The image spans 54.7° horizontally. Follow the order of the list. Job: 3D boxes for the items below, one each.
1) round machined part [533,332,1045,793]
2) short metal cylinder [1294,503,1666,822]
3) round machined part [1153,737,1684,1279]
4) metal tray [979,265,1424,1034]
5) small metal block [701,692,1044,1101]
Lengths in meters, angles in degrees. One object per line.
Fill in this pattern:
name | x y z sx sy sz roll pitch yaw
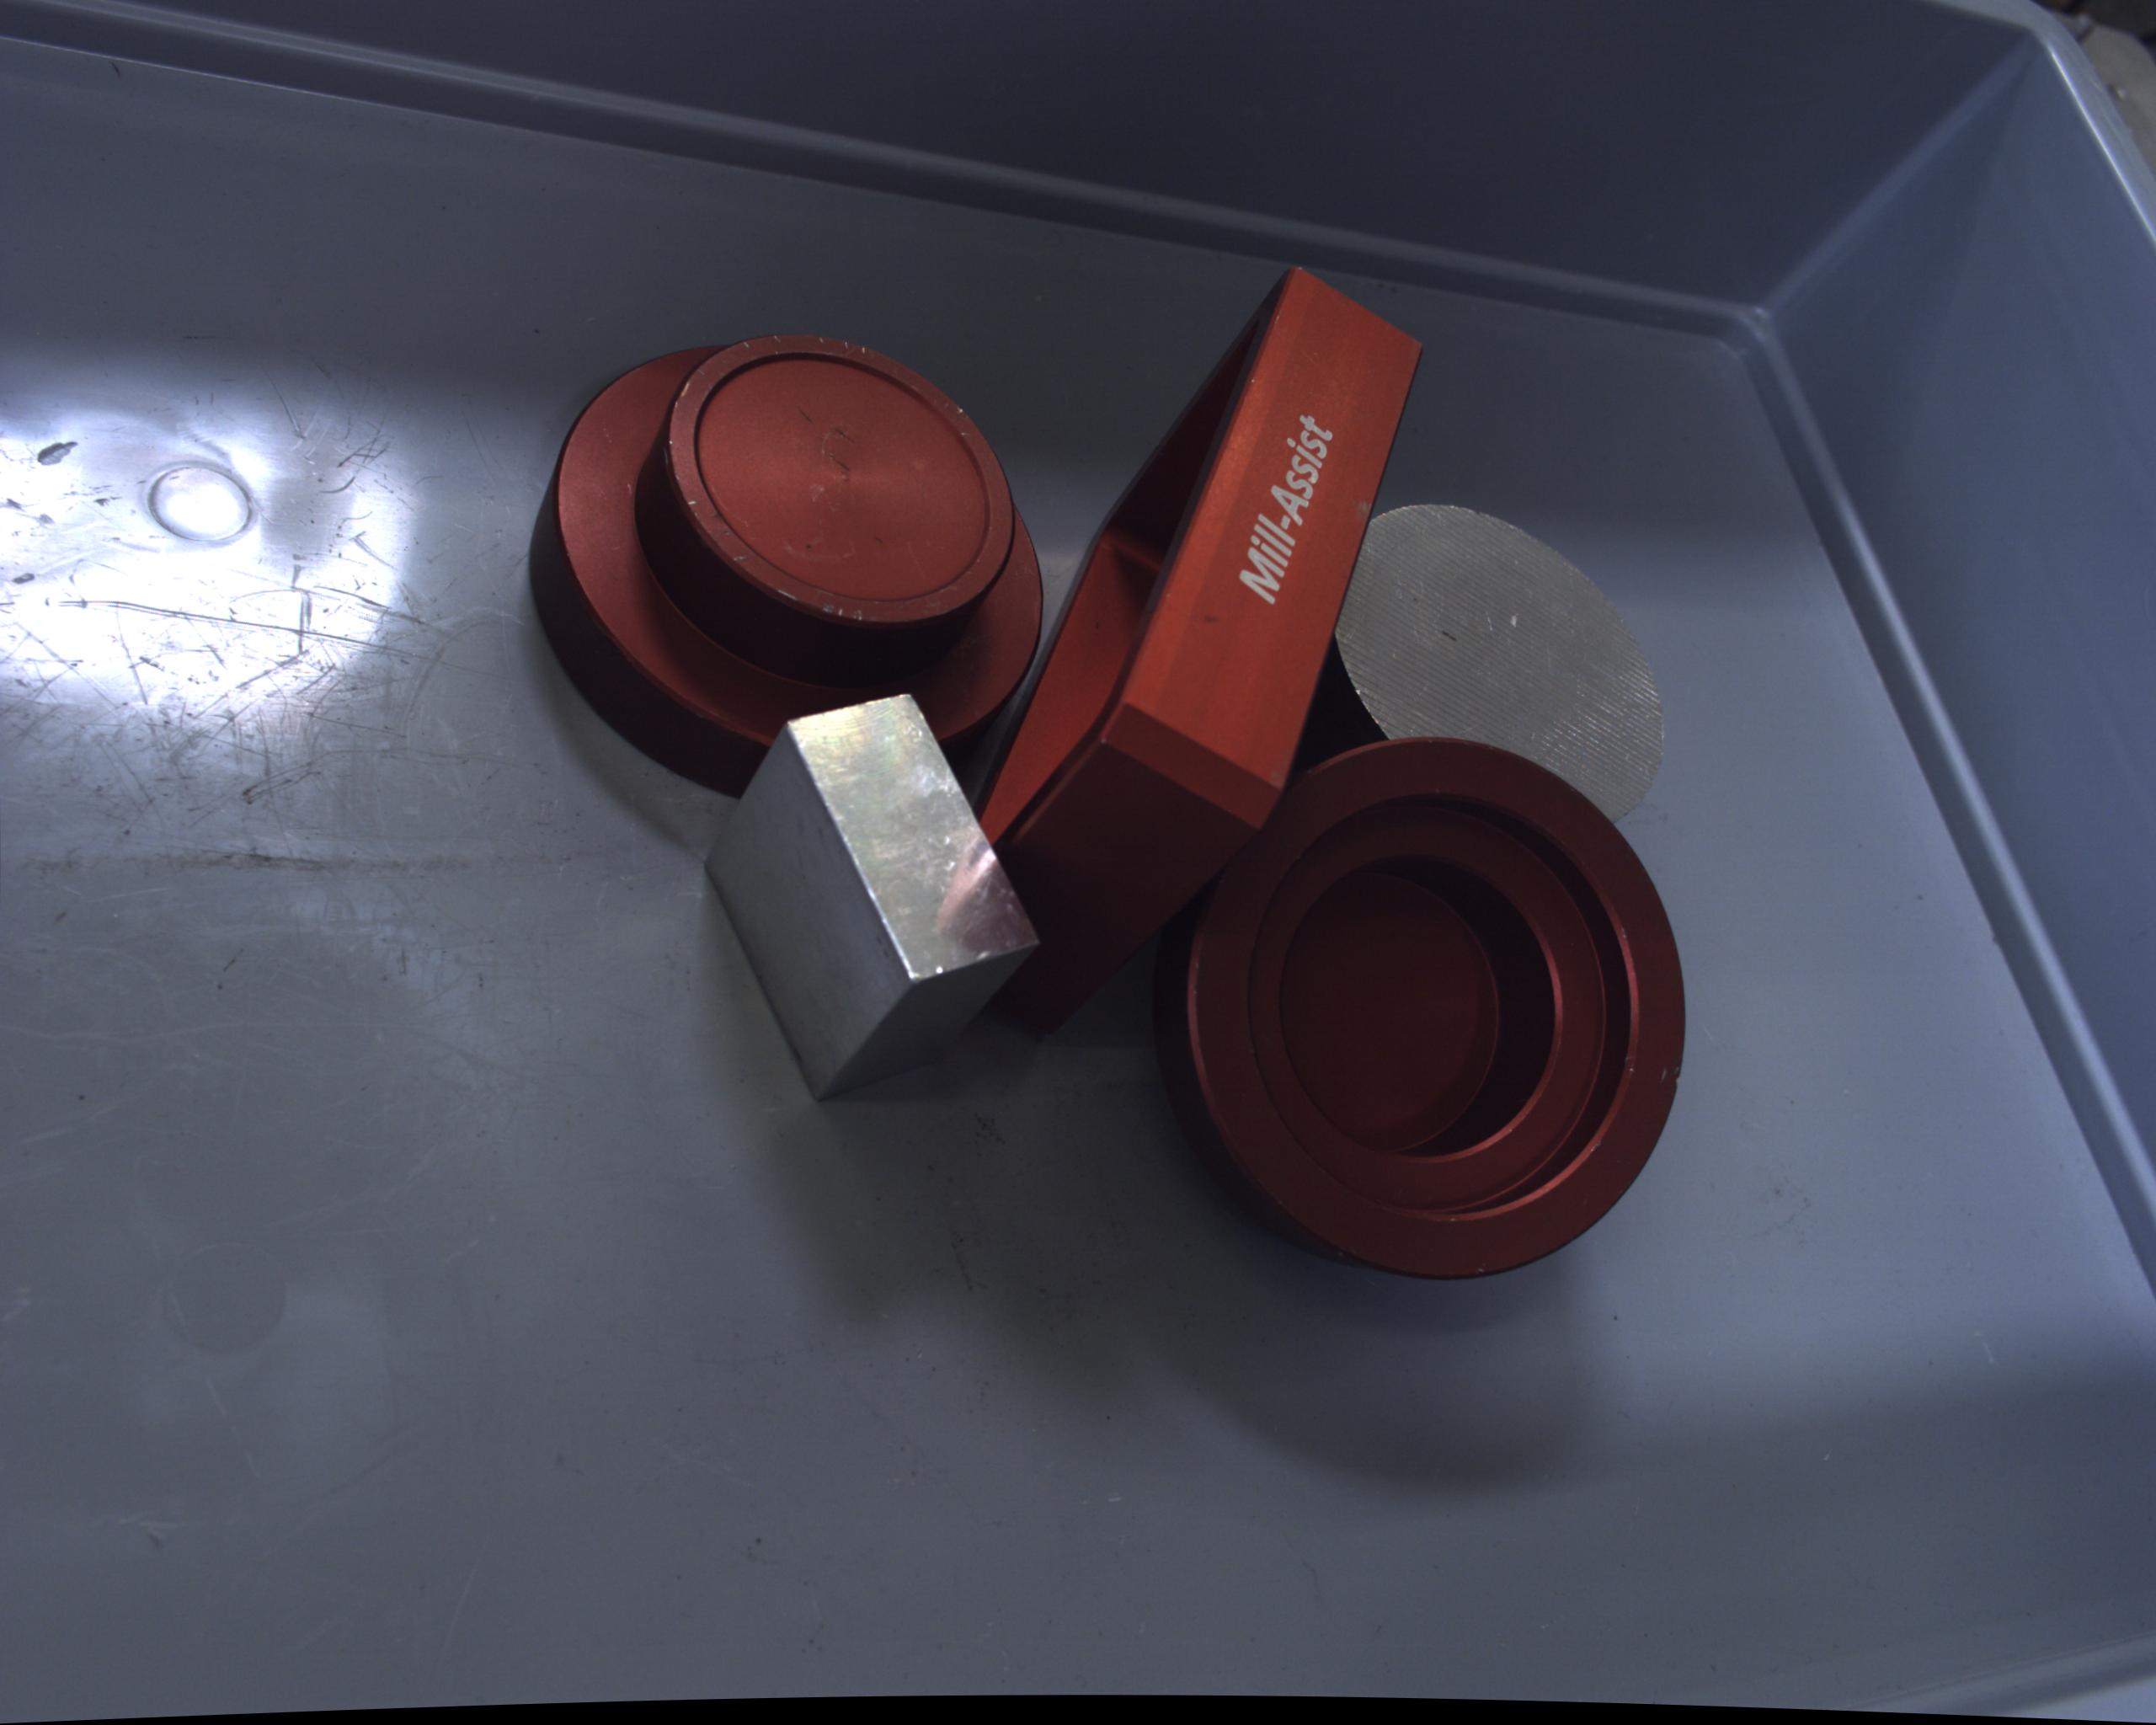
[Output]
round machined part | -0.051 -0.062 0.402 0.099 0.042 0.098 14 56 -21
short metal cylinder | 0.077 -0.030 0.447 0.081 0.050 0.080 14 56 -21
round machined part | 0.060 0.028 0.393 0.099 0.042 0.097 2 82 -18
metal tray | 0.018 -0.041 0.396 0.030 0.090 0.130 29 52 -10
small metal block | -0.037 0.006 0.363 0.025 0.050 0.050 -16 71 -35
